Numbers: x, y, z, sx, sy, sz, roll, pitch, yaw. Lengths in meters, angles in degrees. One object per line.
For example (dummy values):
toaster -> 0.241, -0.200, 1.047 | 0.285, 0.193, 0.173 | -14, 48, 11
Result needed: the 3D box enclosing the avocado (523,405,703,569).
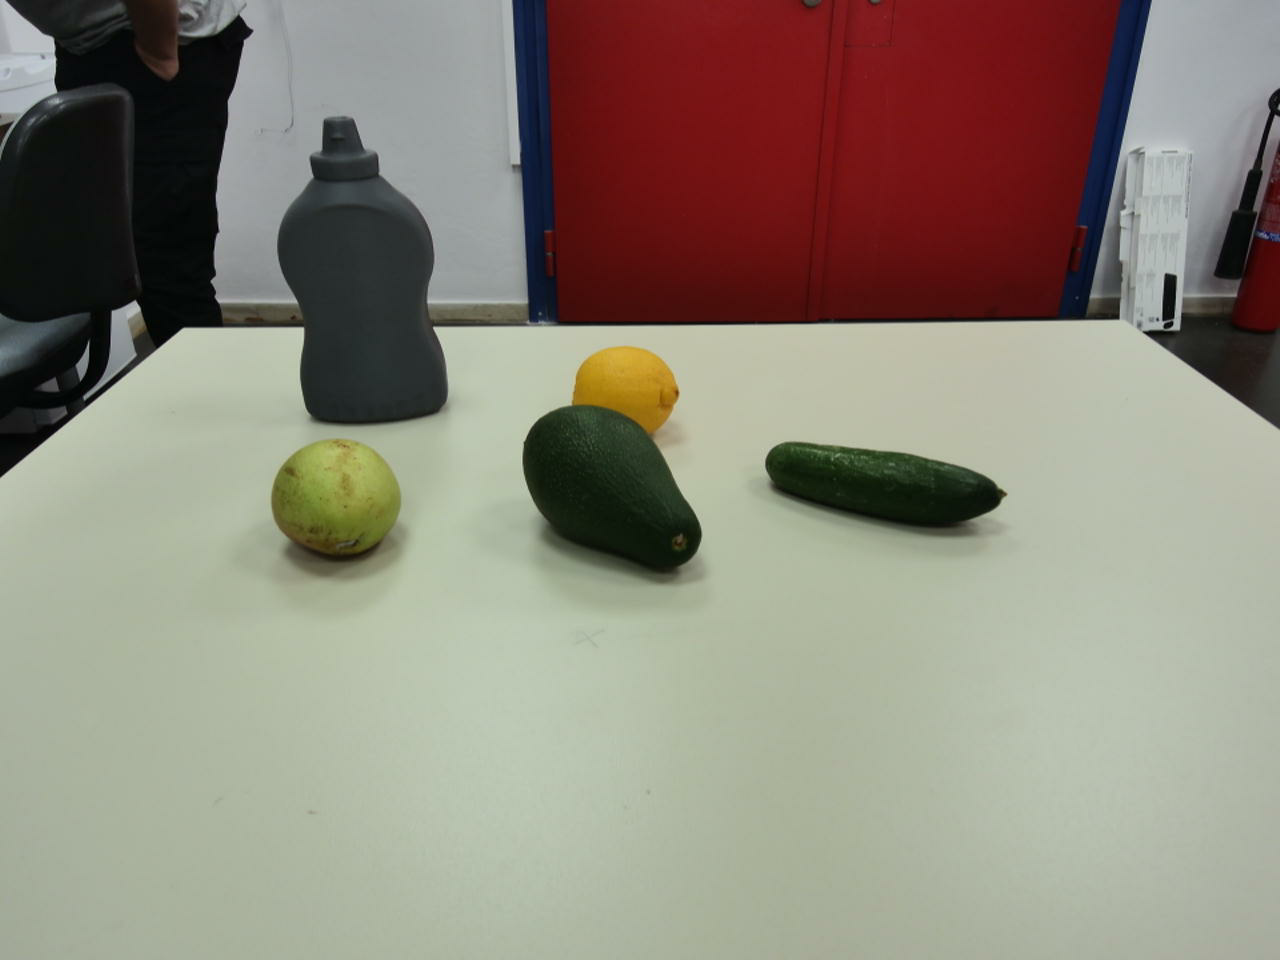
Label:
avocado -> -0.018, 0.002, 0.519 | 0.072, 0.071, 0.109 | -12, 28, -21
